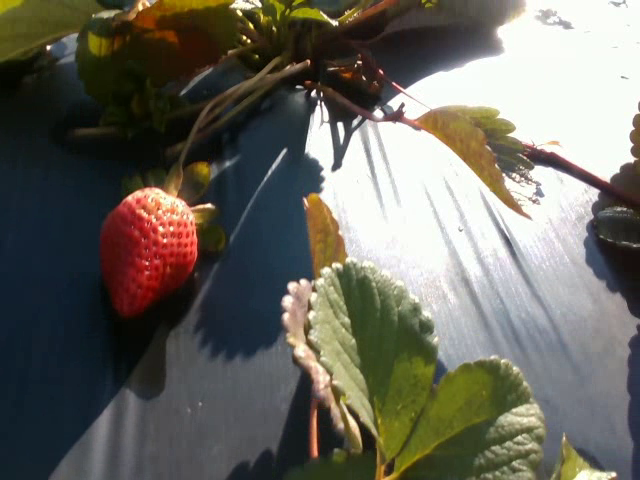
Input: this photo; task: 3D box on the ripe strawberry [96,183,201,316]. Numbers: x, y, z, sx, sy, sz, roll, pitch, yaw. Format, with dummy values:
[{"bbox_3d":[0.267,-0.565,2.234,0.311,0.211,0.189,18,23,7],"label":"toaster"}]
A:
[{"bbox_3d":[-0.064,0.005,0.214,0.045,0.063,0.044,-32,-52,25],"label":"ripe strawberry"}]
